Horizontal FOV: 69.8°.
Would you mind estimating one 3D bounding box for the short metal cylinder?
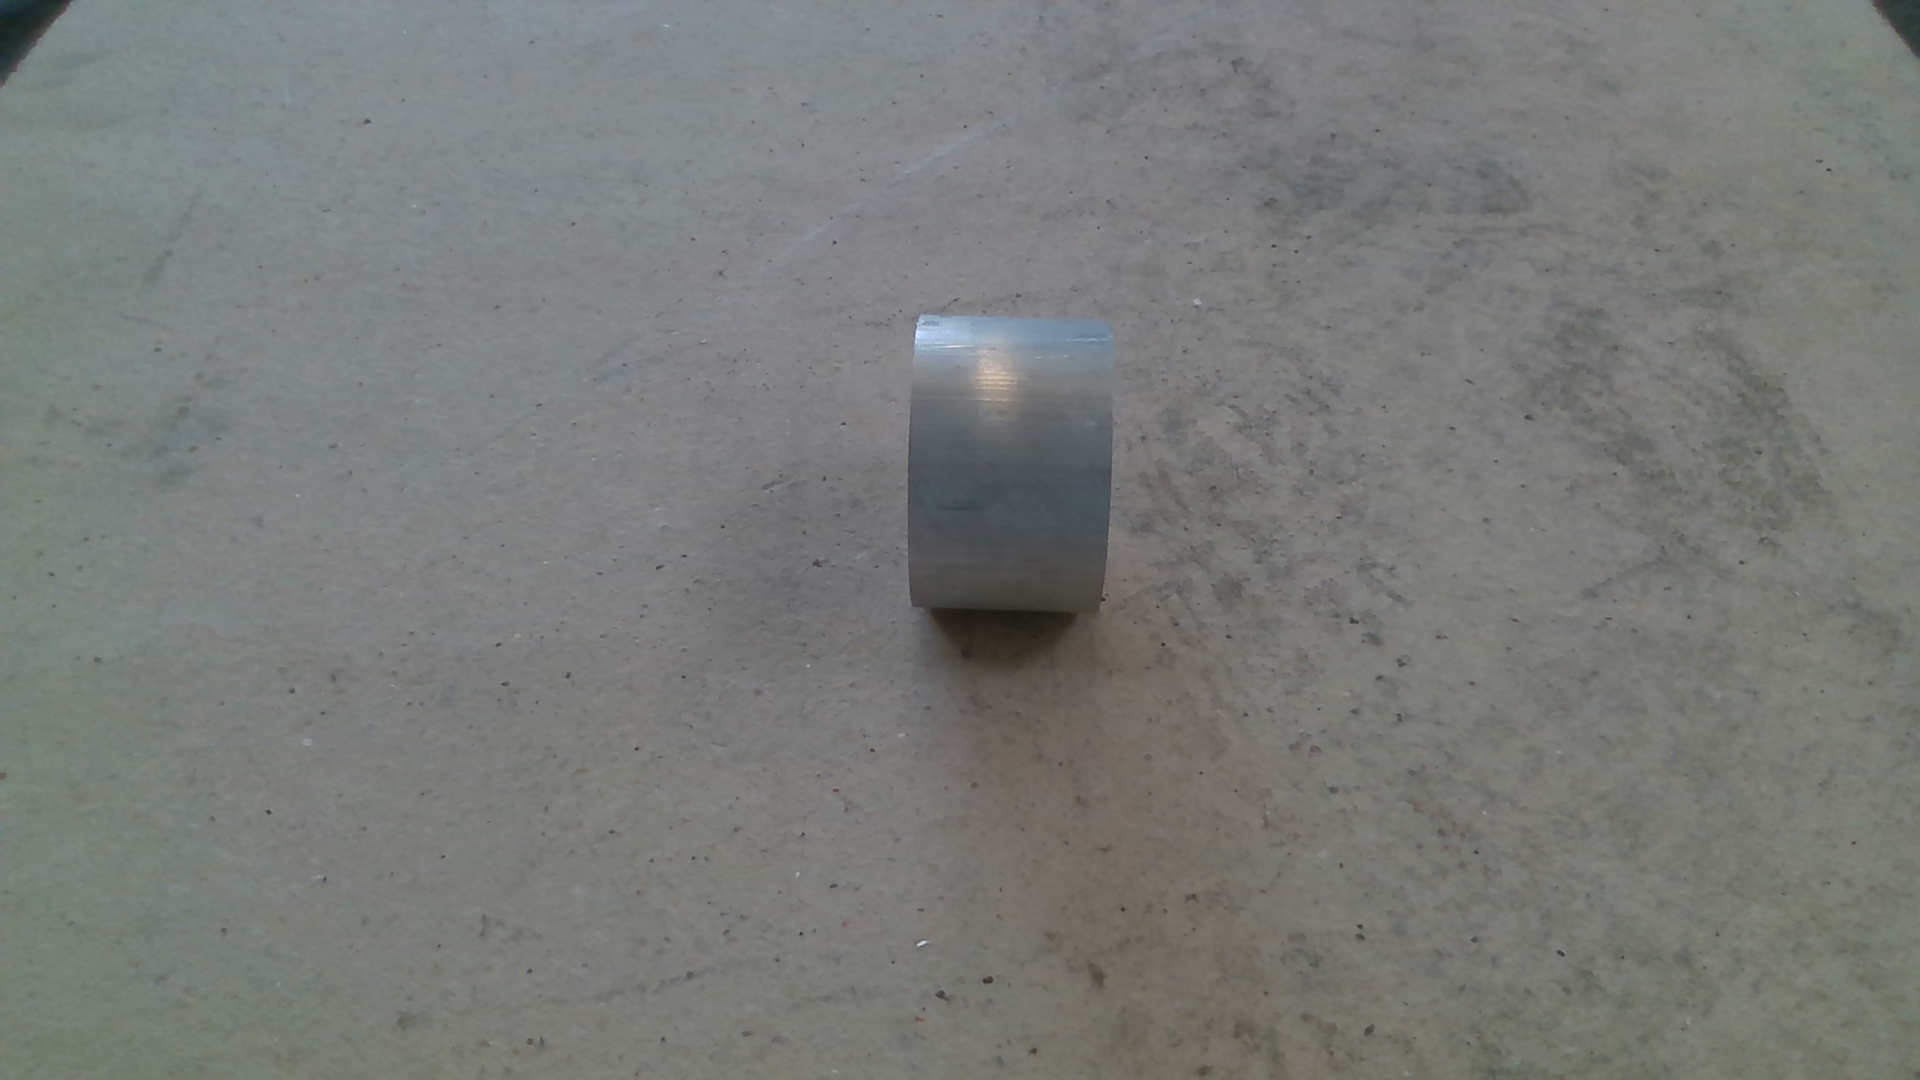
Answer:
[{"bbox_3d":[0.013,-0.021,0.376,0.050,0.080,0.080,1,50,1],"label":"short metal cylinder"}]
